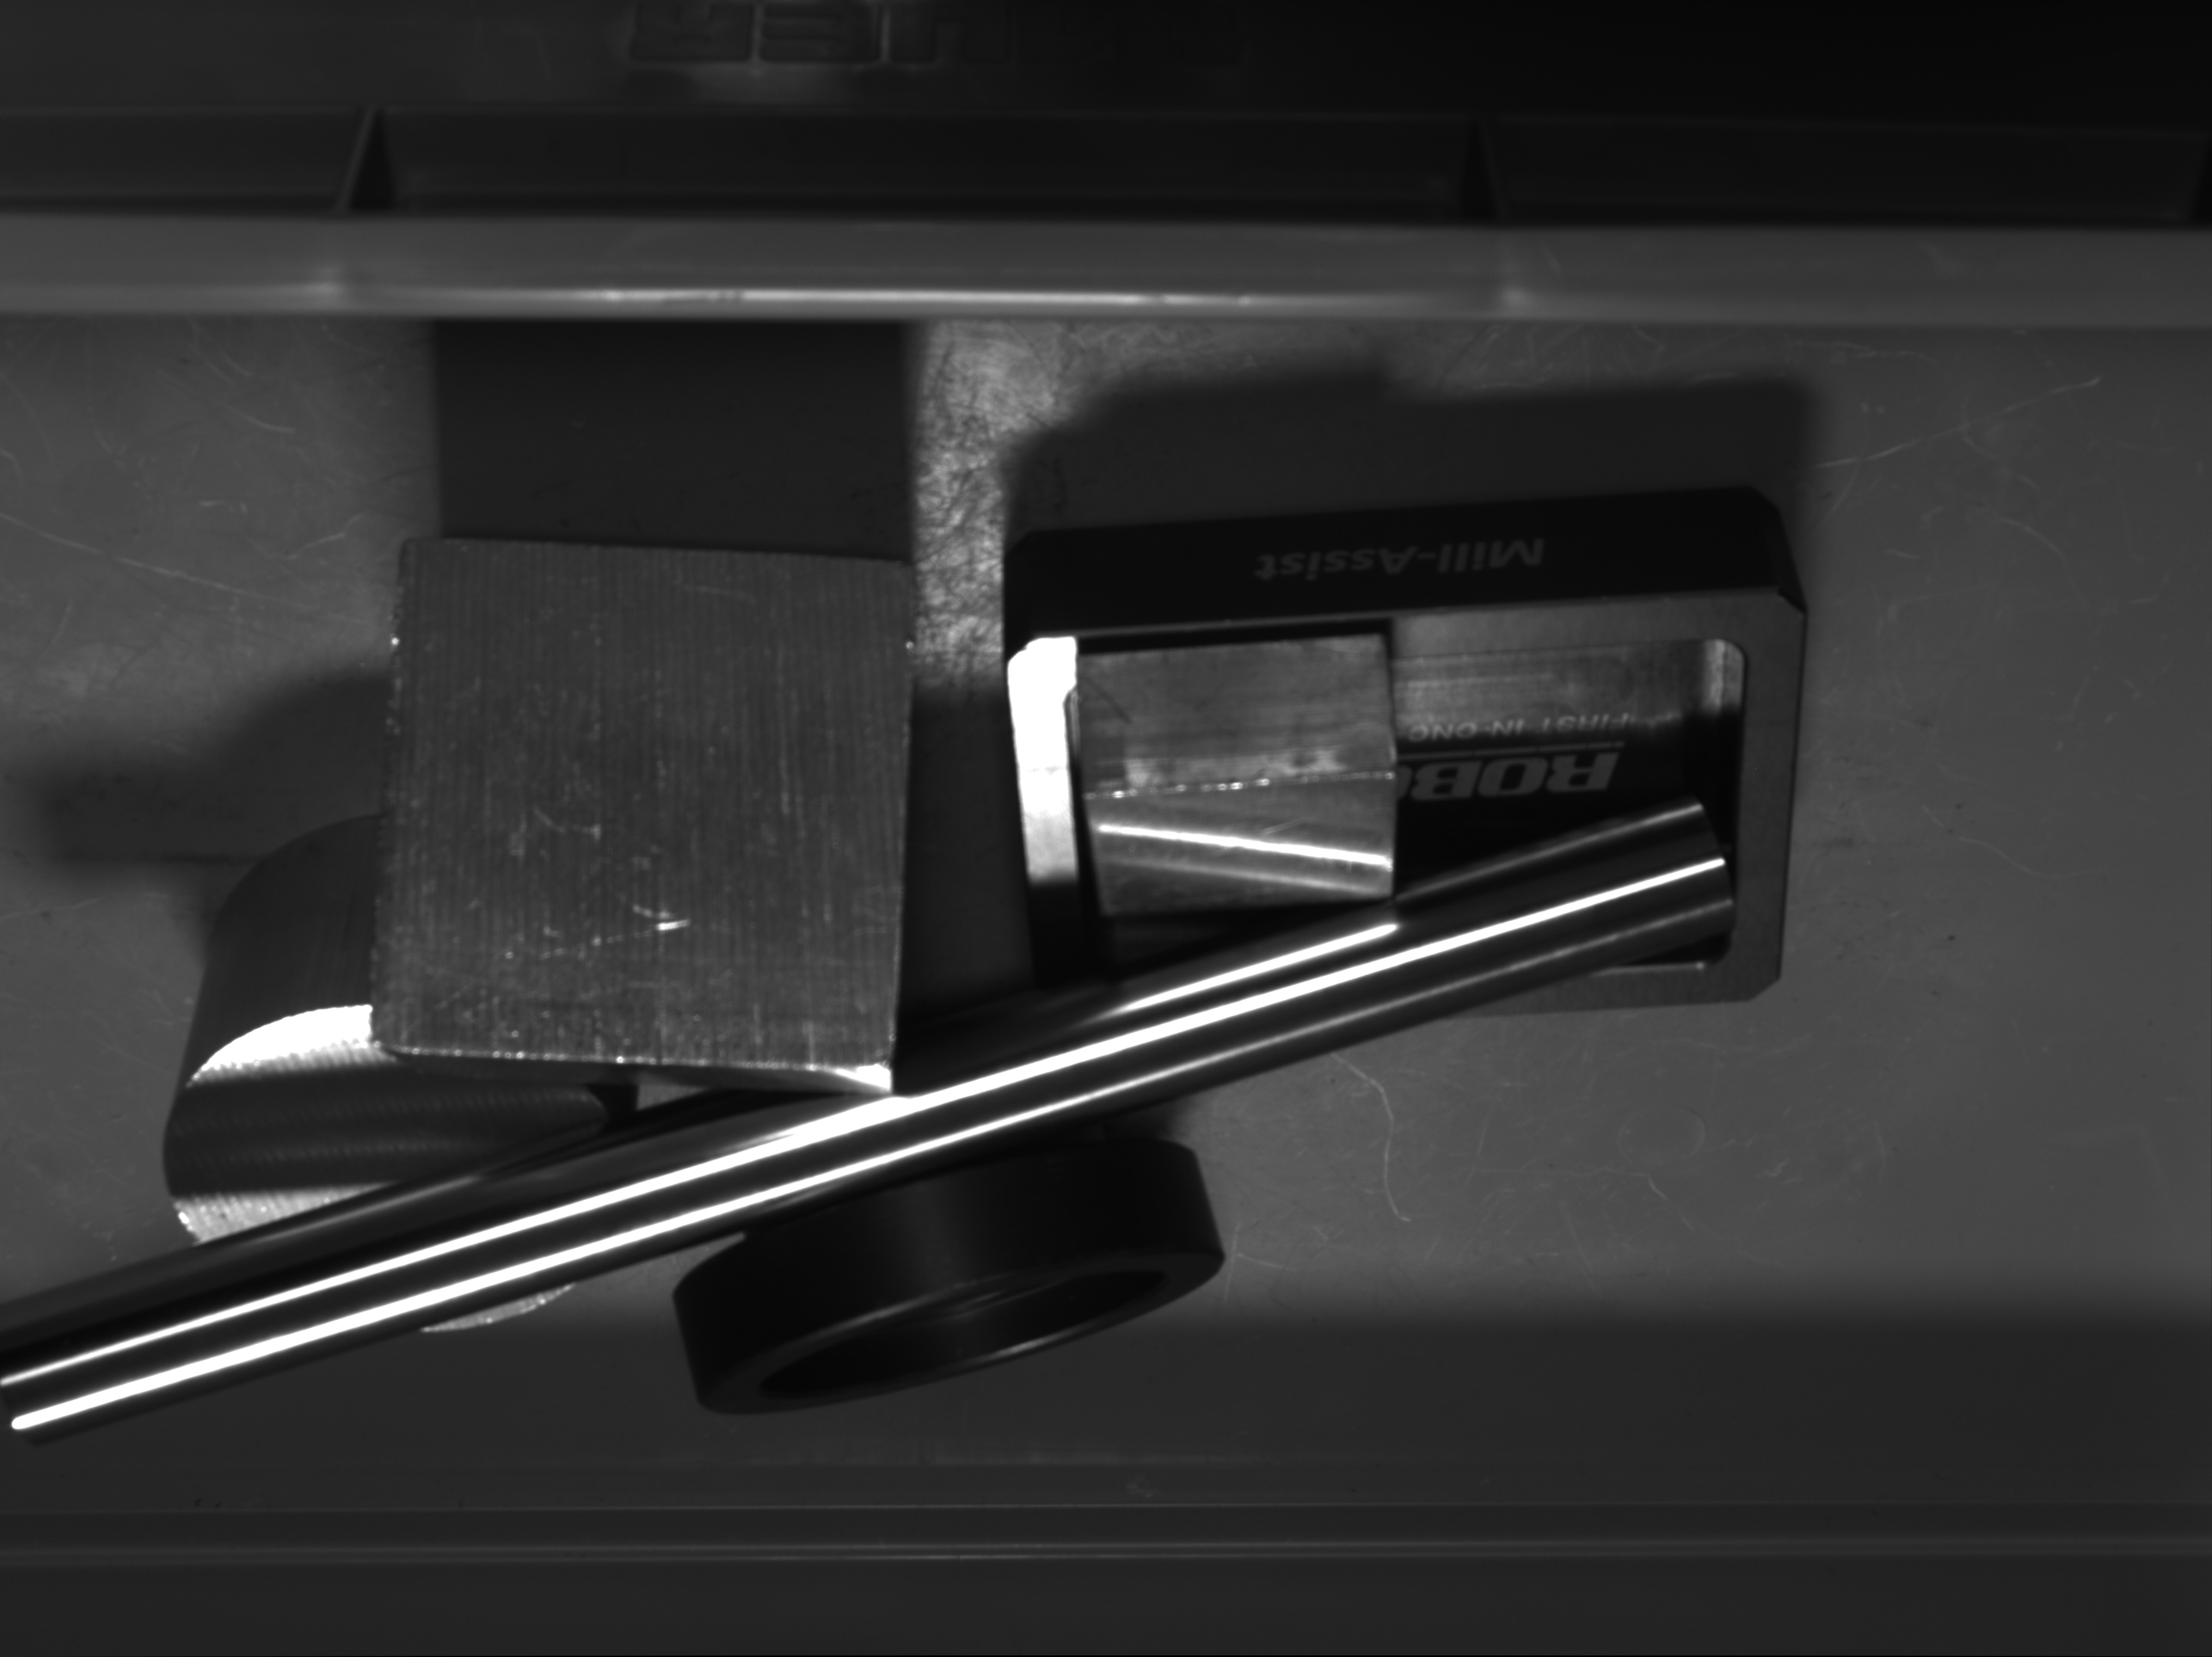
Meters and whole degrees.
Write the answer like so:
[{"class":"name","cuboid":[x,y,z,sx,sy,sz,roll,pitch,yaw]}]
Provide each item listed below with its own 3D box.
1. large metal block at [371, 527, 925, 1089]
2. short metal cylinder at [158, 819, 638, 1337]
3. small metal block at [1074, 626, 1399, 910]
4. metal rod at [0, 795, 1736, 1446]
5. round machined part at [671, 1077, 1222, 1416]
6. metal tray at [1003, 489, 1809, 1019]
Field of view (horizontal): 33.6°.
[{"class":"large metal block","cuboid":[-0.071,-0.002,0.588,0.080,0.080,0.050,3,172,-3]},{"class":"short metal cylinder","cuboid":[-0.124,0.045,0.653,0.080,0.050,0.080,-1,130,-1]},{"class":"small metal block","cuboid":[0.022,-0.009,0.602,0.050,0.025,0.050,-3,156,2]},{"class":"metal rod","cuboid":[-0.040,0.049,0.623,0.300,0.025,0.025,-17,129,-2]},{"class":"round machined part","cuboid":[-0.031,0.072,0.664,0.098,0.042,0.098,-14,164,-4]},{"class":"metal tray","cuboid":[0.050,-0.009,0.627,0.130,0.030,0.090,-4,130,1]}]
